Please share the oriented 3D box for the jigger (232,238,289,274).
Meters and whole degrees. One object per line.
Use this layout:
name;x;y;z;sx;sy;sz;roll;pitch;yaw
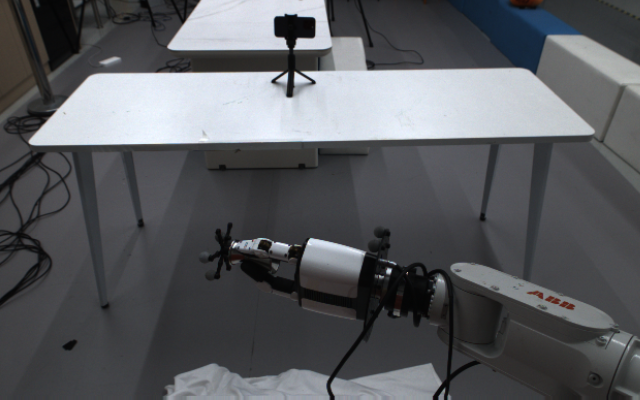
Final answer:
jigger;-0.091;0.078;0.718;0.071;0.043;0.043;8;35;14
